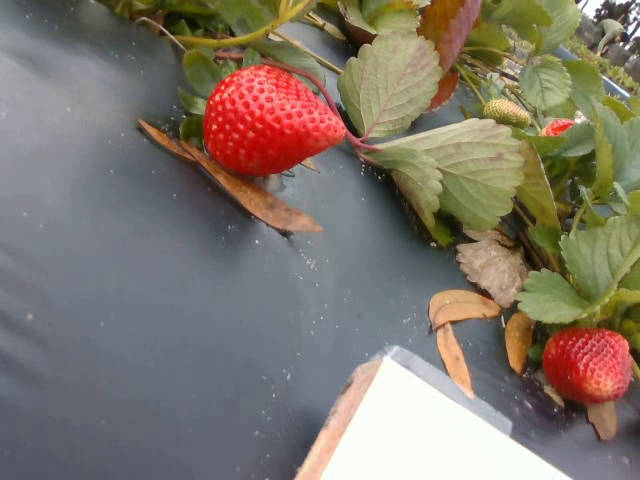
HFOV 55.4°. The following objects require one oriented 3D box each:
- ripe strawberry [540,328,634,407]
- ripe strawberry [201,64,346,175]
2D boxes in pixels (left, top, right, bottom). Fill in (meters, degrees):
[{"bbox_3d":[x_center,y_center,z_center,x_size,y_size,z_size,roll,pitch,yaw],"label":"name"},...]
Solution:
[{"bbox_3d":[0.108,0.052,0.233,0.037,0.041,0.042,-44,2,16],"label":"ripe strawberry"},{"bbox_3d":[-0.013,-0.042,0.221,0.065,0.047,0.043,16,-32,43],"label":"ripe strawberry"}]
